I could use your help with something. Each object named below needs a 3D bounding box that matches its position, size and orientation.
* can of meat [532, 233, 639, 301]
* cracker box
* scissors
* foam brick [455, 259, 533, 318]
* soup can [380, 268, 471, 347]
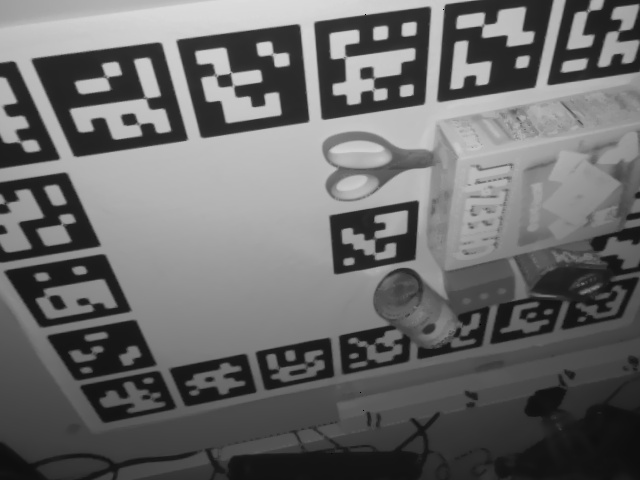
[{"bbox_3d":[0.302,0.022,0.804,0.103,0.084,0.057,1,130,-14],"label":"can of meat"},{"bbox_3d":[0.239,-0.067,0.700,0.214,0.072,0.163,-17,134,-4],"label":"cracker box"},{"bbox_3d":[0.117,-0.093,0.689,0.203,0.016,0.087,-14,132,-2],"label":"scissors"},{"bbox_3d":[0.208,0.049,0.831,0.078,0.051,0.052,-18,132,2],"label":"foam brick"},{"bbox_3d":[0.129,0.084,0.841,0.067,0.068,0.103,-39,134,21],"label":"soup can"}]
